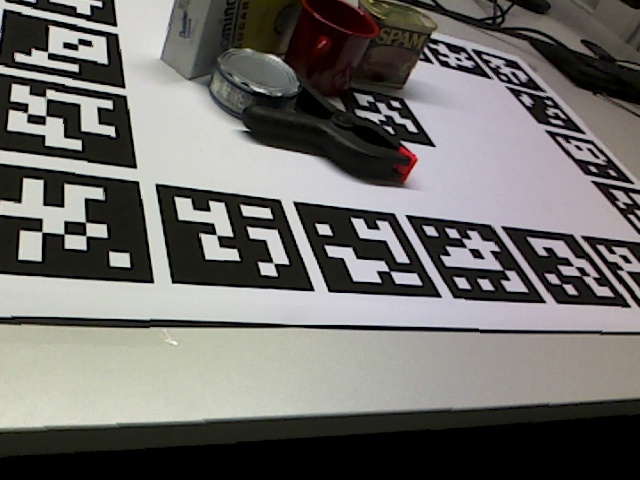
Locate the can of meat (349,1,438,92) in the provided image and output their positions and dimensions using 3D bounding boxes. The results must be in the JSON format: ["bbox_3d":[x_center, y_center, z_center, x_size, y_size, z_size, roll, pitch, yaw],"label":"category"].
[{"bbox_3d":[0.079,-0.234,0.758,0.101,0.084,0.058,0,44,-34],"label":"can of meat"}]

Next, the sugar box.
[{"bbox_3d":[-0.080,-0.228,0.647,0.045,0.093,0.176,37,37,14],"label":"sugar box"}]

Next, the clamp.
[{"bbox_3d":[0.013,-0.101,0.603,0.165,0.036,0.122,32,33,-2],"label":"clamp"}]

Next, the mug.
[{"bbox_3d":[0.007,-0.212,0.676,0.093,0.081,0.117,23,39,-8],"label":"mug"}]

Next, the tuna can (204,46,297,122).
[{"bbox_3d":[-0.068,-0.150,0.602,0.085,0.034,0.086,16,41,-15],"label":"tuna can"}]
